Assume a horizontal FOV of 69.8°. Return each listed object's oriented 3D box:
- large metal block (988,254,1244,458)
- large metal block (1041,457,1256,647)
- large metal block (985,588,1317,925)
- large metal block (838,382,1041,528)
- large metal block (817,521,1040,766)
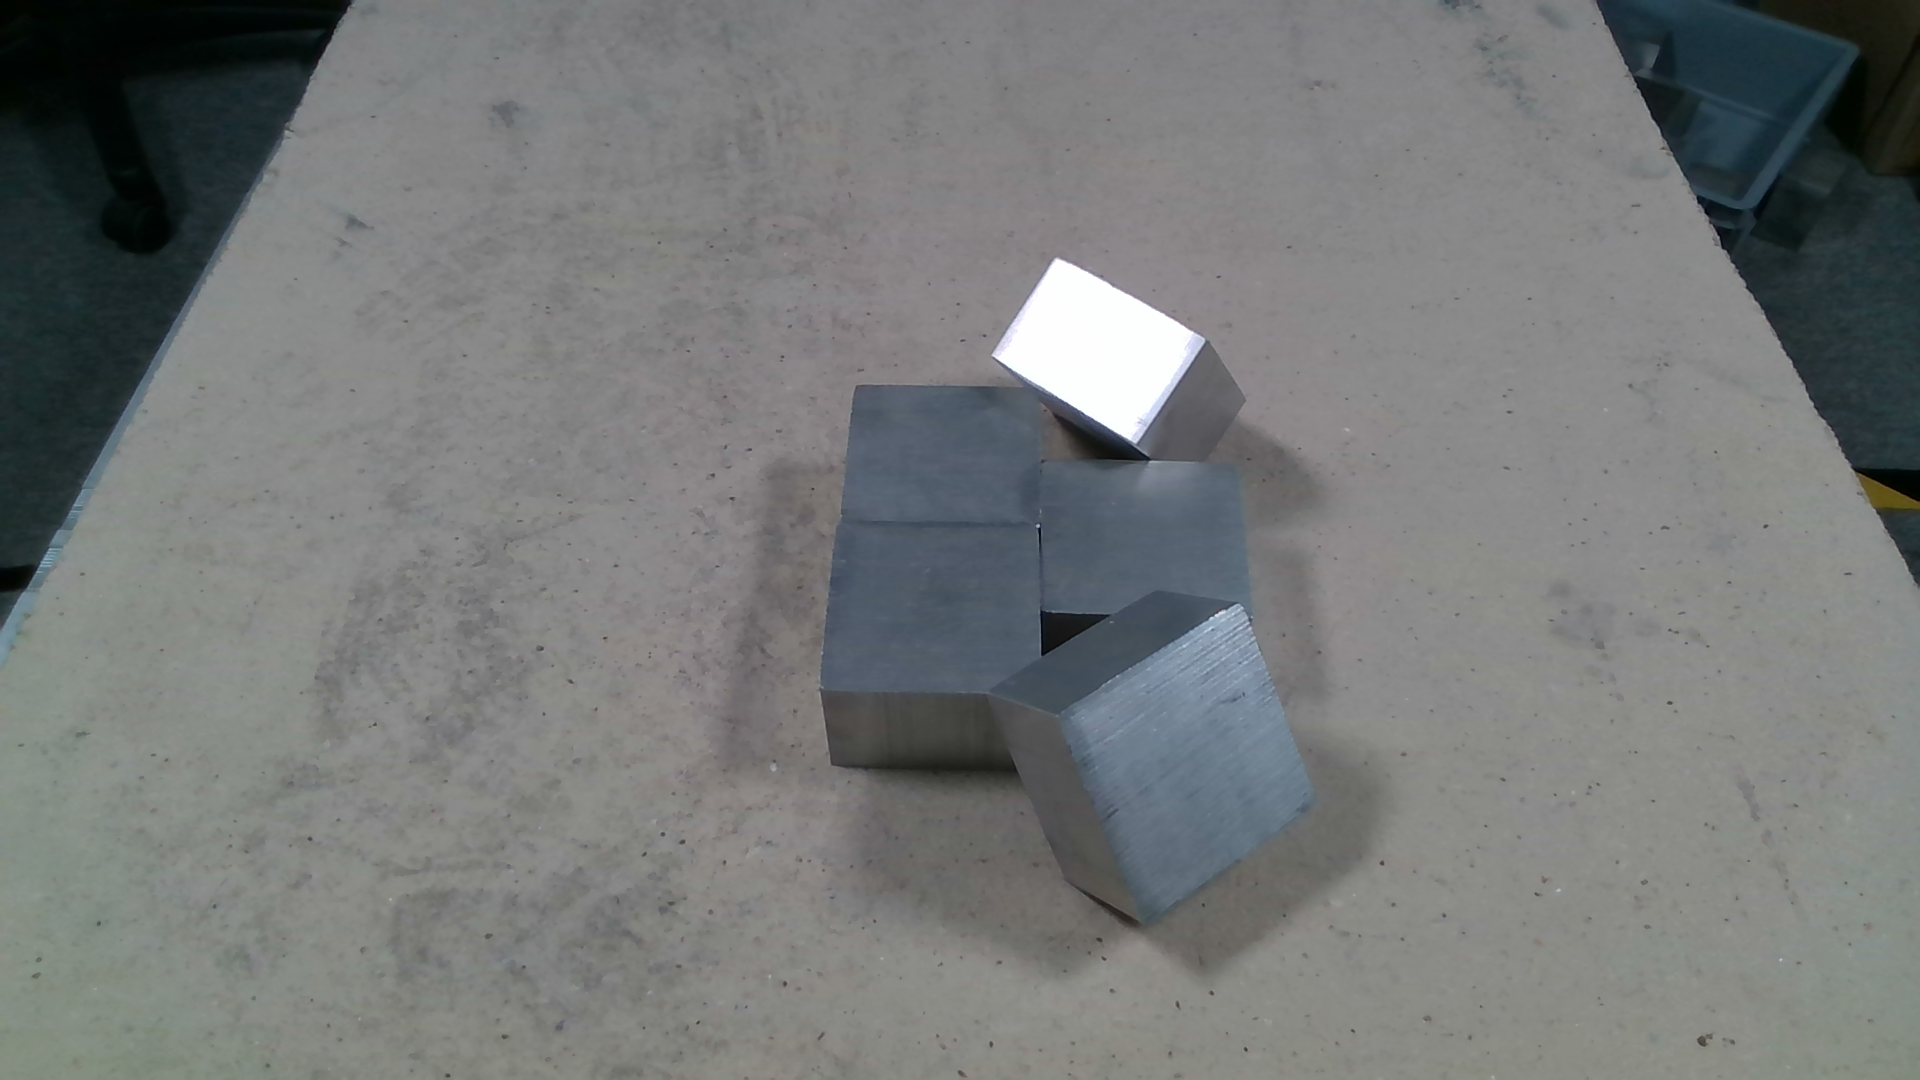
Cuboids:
[{"bbox_3d":[0.071,-0.071,0.601,0.080,0.080,0.050,35,93,26],"label":"large metal block"},{"bbox_3d":[0.073,0.014,0.560,0.080,0.050,0.080,2,50,2],"label":"large metal block"},{"bbox_3d":[0.067,0.073,0.483,0.080,0.080,0.050,-28,15,-22],"label":"large metal block"},{"bbox_3d":[-0.007,-0.021,0.588,0.080,0.050,0.080,1,50,1],"label":"large metal block"},{"bbox_3d":[-0.010,0.040,0.535,0.080,0.050,0.080,1,50,1],"label":"large metal block"}]
